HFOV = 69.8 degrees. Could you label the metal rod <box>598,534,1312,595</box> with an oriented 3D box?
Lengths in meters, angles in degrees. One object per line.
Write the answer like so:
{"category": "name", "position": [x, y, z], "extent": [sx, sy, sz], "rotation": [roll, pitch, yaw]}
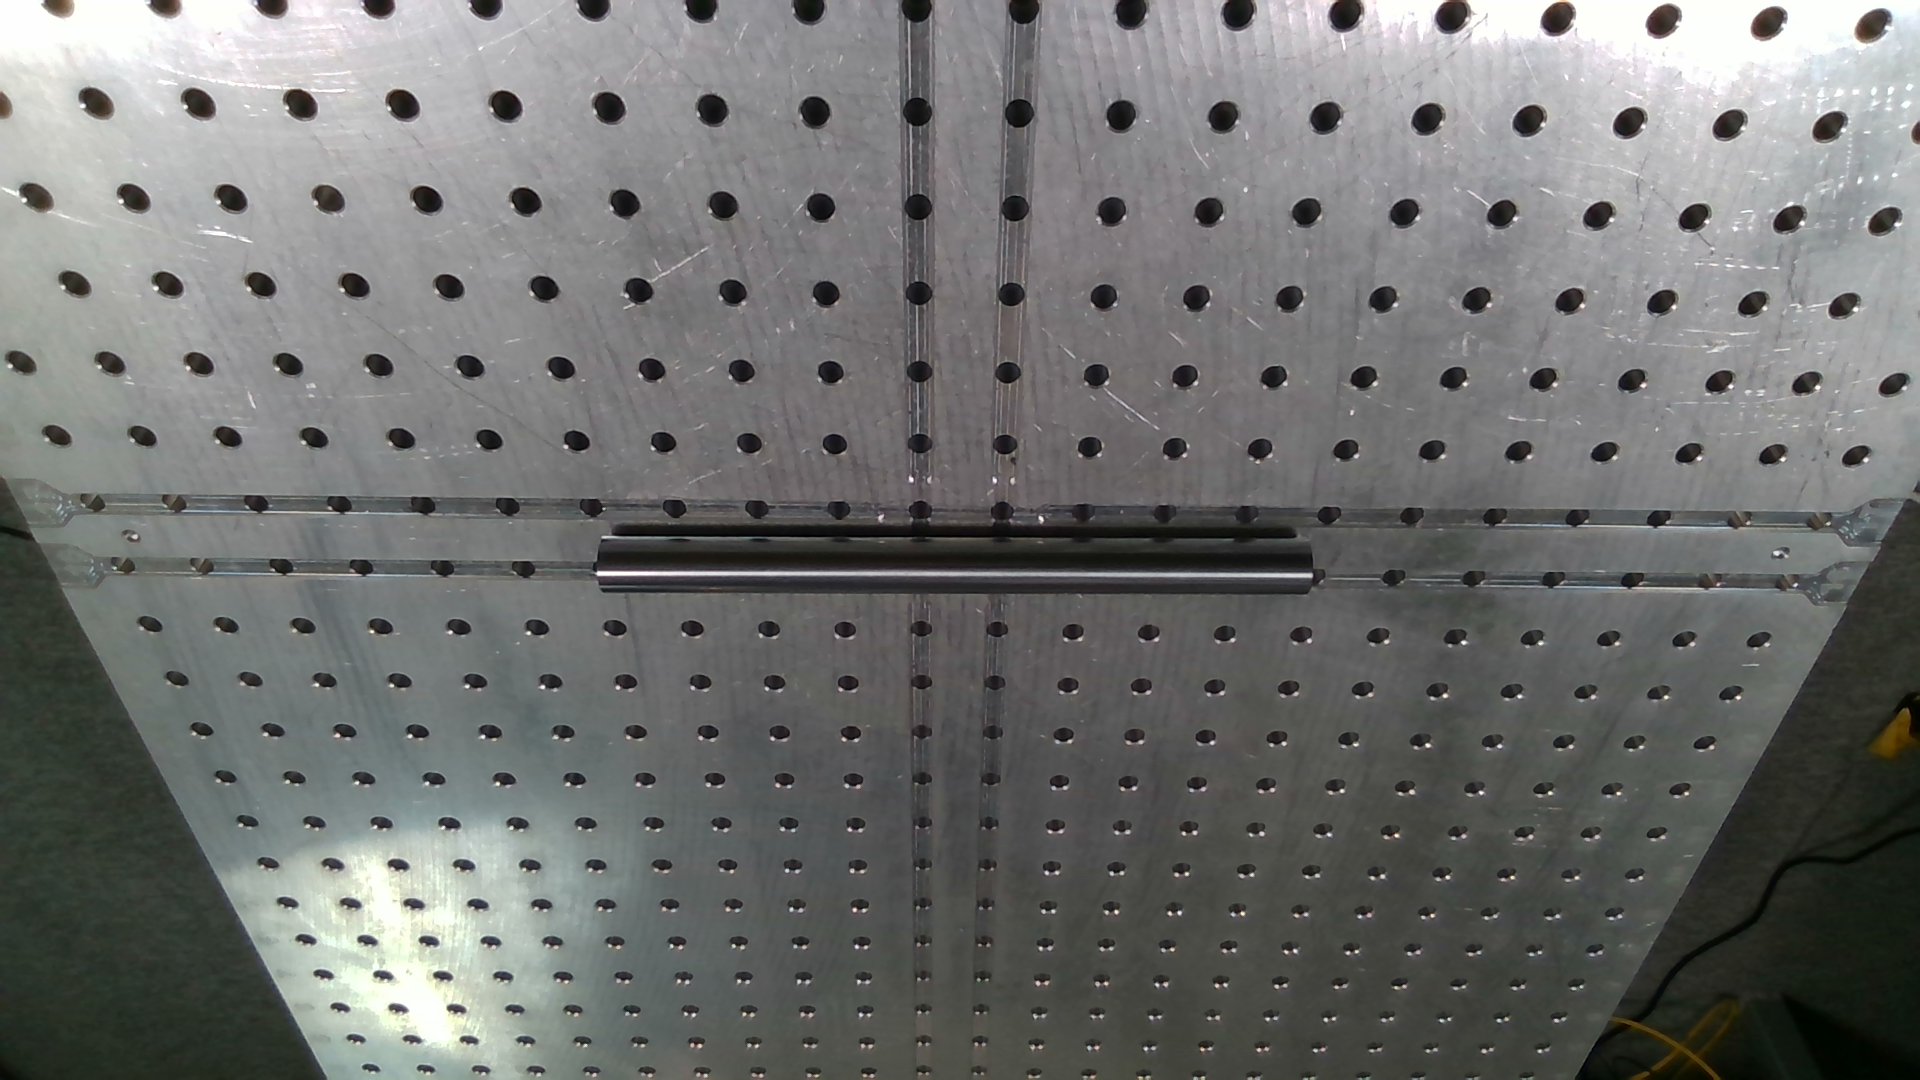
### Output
{"category": "metal rod", "position": [-0.002, 0.011, 0.591], "extent": [0.300, 0.025, 0.025], "rotation": [0, 130, 0]}
